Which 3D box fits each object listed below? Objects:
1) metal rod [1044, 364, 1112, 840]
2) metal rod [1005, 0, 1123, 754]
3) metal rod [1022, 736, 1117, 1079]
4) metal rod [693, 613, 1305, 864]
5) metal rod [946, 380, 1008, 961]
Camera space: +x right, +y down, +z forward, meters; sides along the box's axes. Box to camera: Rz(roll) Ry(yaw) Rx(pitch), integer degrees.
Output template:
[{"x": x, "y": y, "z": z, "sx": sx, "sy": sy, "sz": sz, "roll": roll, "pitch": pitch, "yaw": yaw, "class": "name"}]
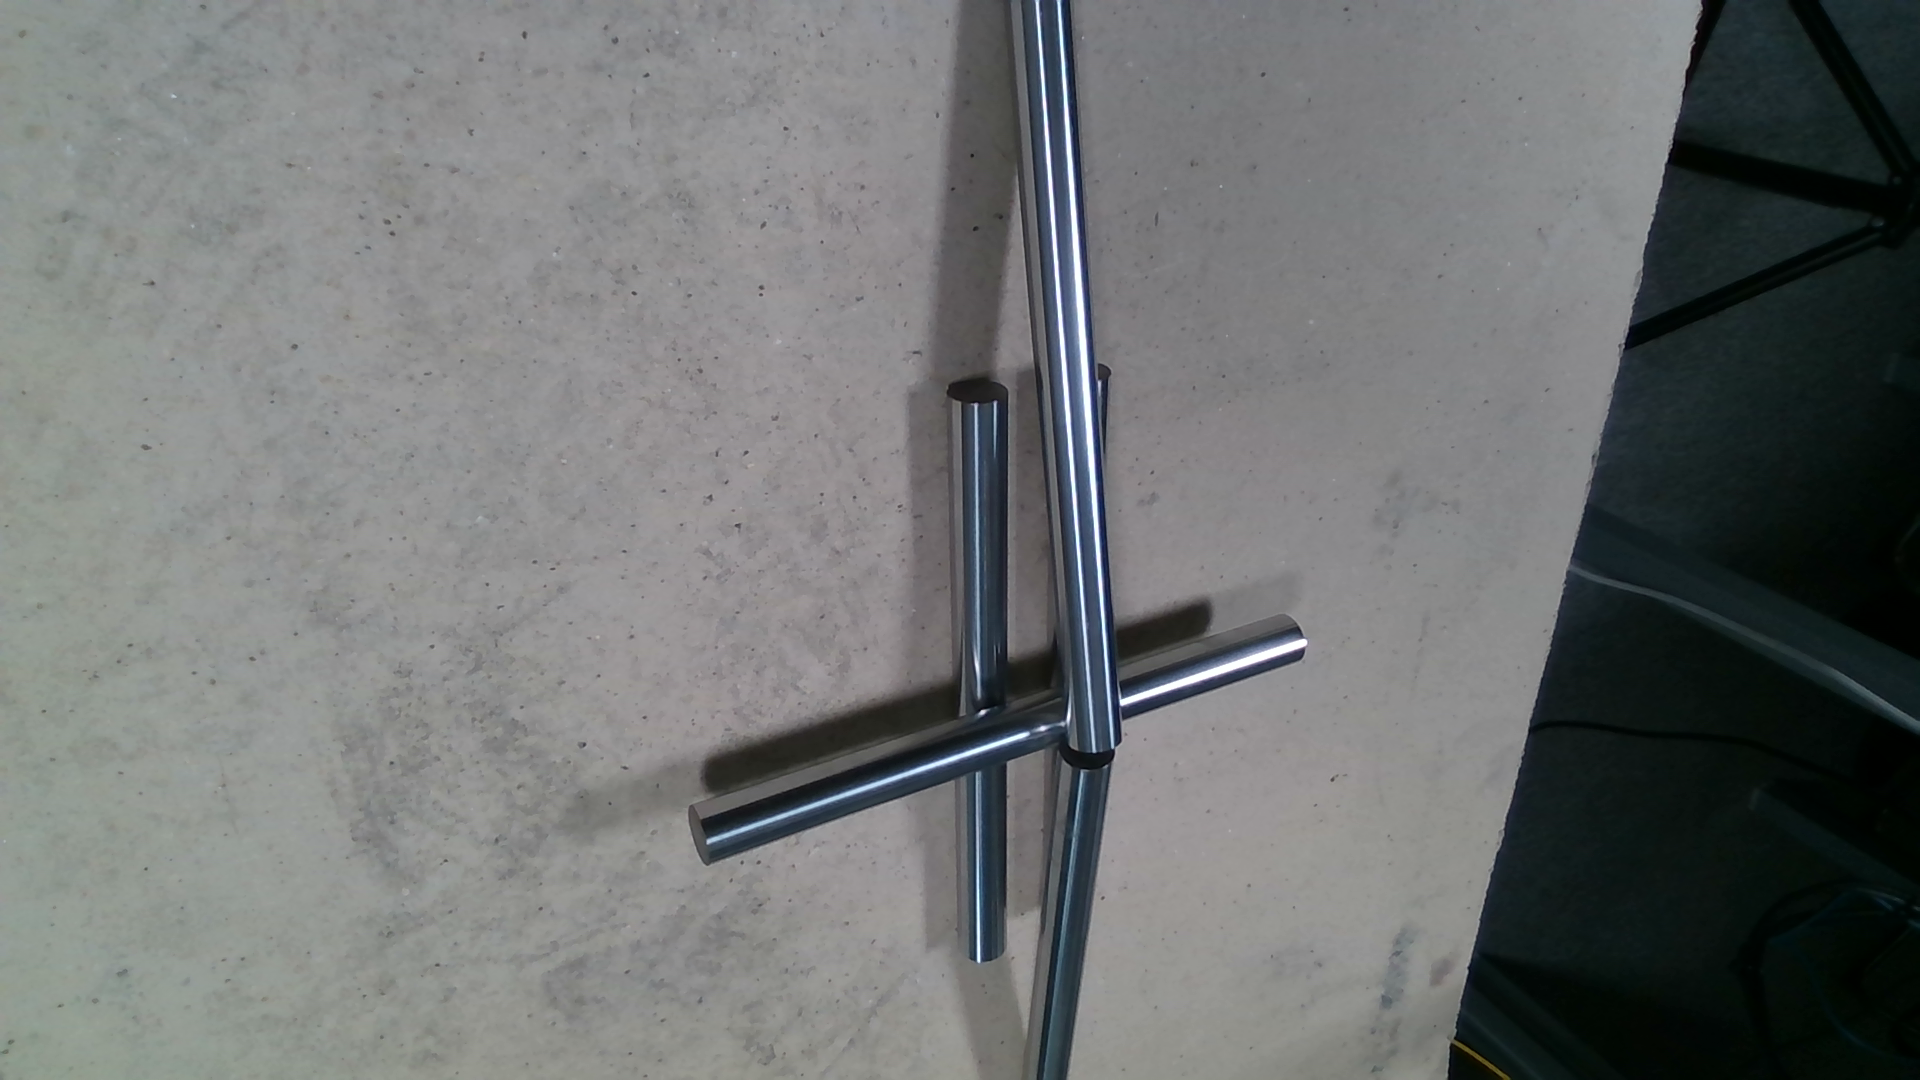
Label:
[{"x": 0.053, "y": 0.061, "z": 0.645, "sx": 0.025, "sy": 0.025, "sz": 0.301, "roll": -15, "pitch": 122, "yaw": -24, "class": "metal rod"}, {"x": 0.043, "y": -0.053, "z": 0.546, "sx": 0.025, "sy": 0.025, "sz": 0.301, "roll": -16, "pitch": 113, "yaw": -24, "class": "metal rod"}, {"x": 0.051, "y": 0.208, "z": 0.692, "sx": 0.025, "sy": 0.025, "sz": 0.301, "roll": -17, "pitch": 133, "yaw": -23, "class": "metal rod"}, {"x": 0.028, "y": 0.082, "z": 0.610, "sx": 0.300, "sy": 0.025, "sz": 0.025, "roll": -15, "pitch": 122, "yaw": -25, "class": "metal rod"}, {"x": 0.009, "y": 0.072, "z": 0.624, "sx": 0.025, "sy": 0.025, "sz": 0.301, "roll": -15, "pitch": 122, "yaw": -24, "class": "metal rod"}]
